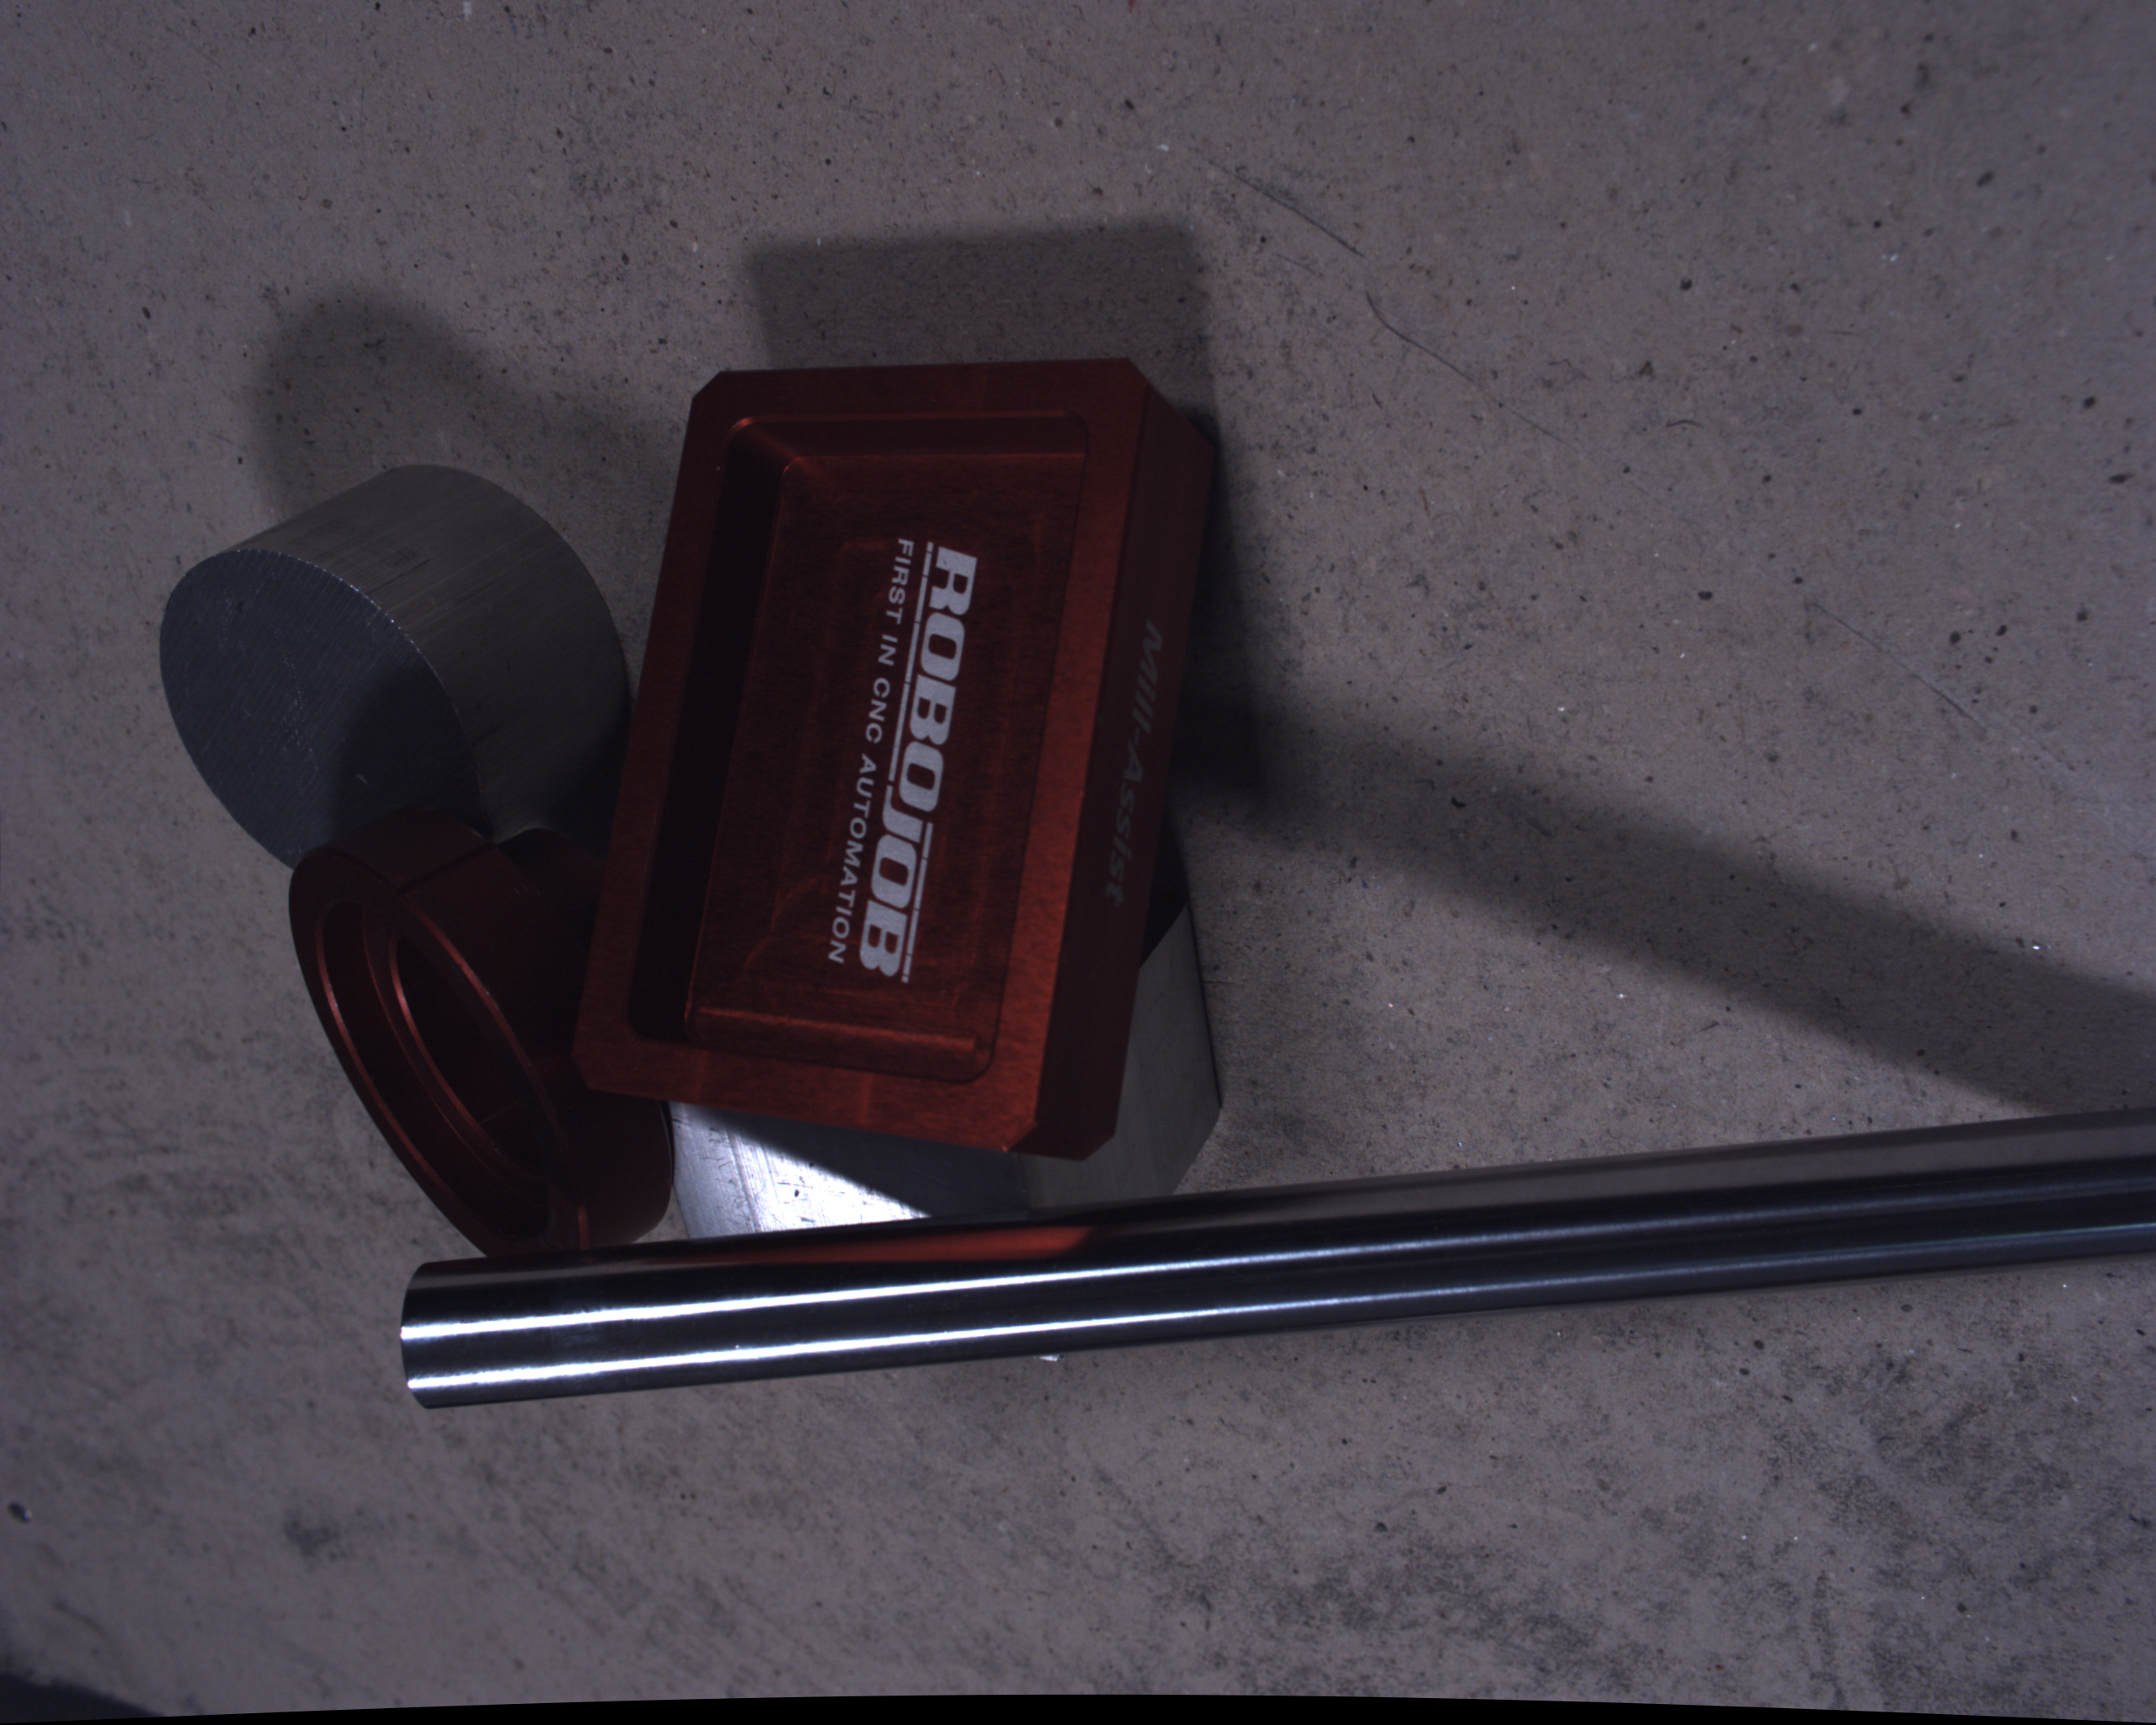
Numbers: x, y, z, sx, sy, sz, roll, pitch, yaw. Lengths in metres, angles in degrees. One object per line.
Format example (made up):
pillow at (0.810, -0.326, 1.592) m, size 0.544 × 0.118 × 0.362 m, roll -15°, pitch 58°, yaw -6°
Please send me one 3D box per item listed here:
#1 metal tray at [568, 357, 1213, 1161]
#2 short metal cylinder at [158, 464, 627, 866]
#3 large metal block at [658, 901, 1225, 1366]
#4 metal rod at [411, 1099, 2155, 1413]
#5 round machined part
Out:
metal tray at (-0.032, -0.019, 0.359) m, size 0.090 × 0.030 × 0.129 m, roll 5°, pitch 81°, yaw 25°
short metal cylinder at (-0.144, -0.038, 0.442) m, size 0.080 × 0.050 × 0.079 m, roll 13°, pitch 124°, yaw 20°
large metal block at (-0.025, 0.047, 0.413) m, size 0.080 × 0.080 × 0.050 m, roll 5°, pitch 121°, yaw 25°
metal rod at (0.039, 0.066, 0.351) m, size 0.302 × 0.025 × 0.025 m, roll -6°, pitch 118°, yaw 3°
round machined part at (-0.112, 0.032, 0.417) m, size 0.098 × 0.042 × 0.097 m, roll 30°, pitch 136°, yaw 34°
